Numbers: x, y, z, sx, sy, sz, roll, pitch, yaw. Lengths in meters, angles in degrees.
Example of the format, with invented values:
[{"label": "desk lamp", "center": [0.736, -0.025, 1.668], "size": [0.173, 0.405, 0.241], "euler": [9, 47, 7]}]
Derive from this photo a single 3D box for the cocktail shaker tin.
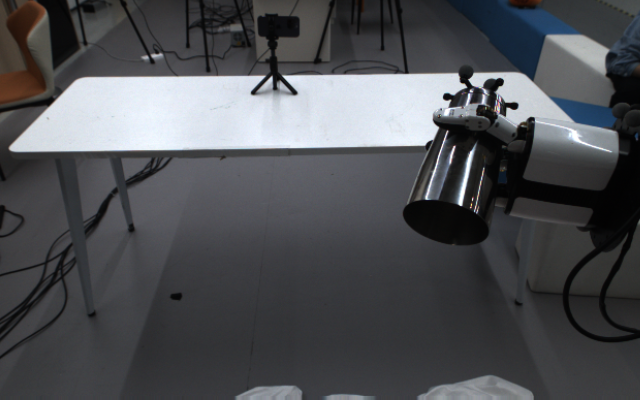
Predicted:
[{"label": "cocktail shaker tin", "center": [0.163, -0.045, 0.549], "size": [0.093, 0.093, 0.170], "euler": [15, 62, 17]}]
